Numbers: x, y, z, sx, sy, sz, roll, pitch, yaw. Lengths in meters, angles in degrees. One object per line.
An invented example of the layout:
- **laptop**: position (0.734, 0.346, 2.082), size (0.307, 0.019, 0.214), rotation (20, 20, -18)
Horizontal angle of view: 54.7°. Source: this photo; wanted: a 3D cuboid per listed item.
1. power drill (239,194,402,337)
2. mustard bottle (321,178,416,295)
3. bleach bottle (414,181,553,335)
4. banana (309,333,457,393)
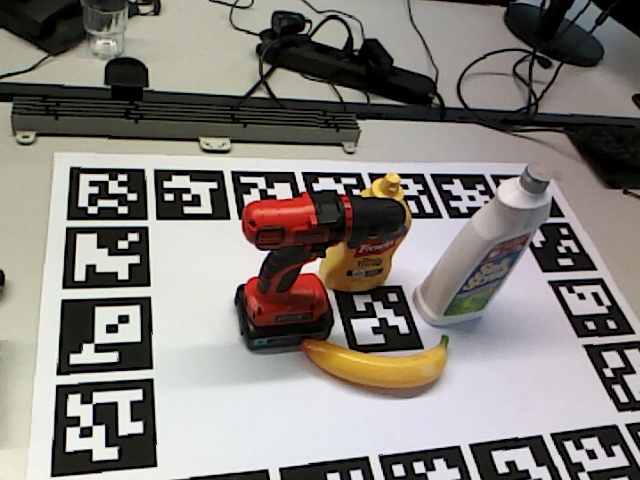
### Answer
- **power drill**: position (-0.012, 0.029, 0.708), size (0.184, 0.187, 0.057), rotation (-1, 44, -21)
- **mustard bottle**: position (0.069, -0.006, 0.789), size (0.096, 0.191, 0.059), rotation (1, 50, -18)
- **bleach bottle**: position (0.209, 0.024, 0.776), size (0.102, 0.250, 0.068), rotation (-7, 54, -23)
- **banana**: position (0.085, 0.151, 0.757), size (0.197, 0.039, 0.074), rotation (1, 54, -14)
